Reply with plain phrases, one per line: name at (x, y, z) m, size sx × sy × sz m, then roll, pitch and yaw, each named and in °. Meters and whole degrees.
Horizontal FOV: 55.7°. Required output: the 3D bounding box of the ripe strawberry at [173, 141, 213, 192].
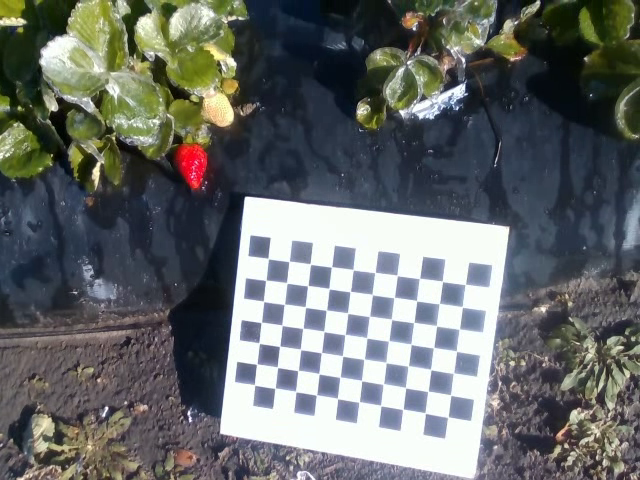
ripe strawberry at (-0.146, -0.082, 0.671) m, size 0.041 × 0.052 × 0.040 m, roll -11°, pitch -7°, yaw 7°
